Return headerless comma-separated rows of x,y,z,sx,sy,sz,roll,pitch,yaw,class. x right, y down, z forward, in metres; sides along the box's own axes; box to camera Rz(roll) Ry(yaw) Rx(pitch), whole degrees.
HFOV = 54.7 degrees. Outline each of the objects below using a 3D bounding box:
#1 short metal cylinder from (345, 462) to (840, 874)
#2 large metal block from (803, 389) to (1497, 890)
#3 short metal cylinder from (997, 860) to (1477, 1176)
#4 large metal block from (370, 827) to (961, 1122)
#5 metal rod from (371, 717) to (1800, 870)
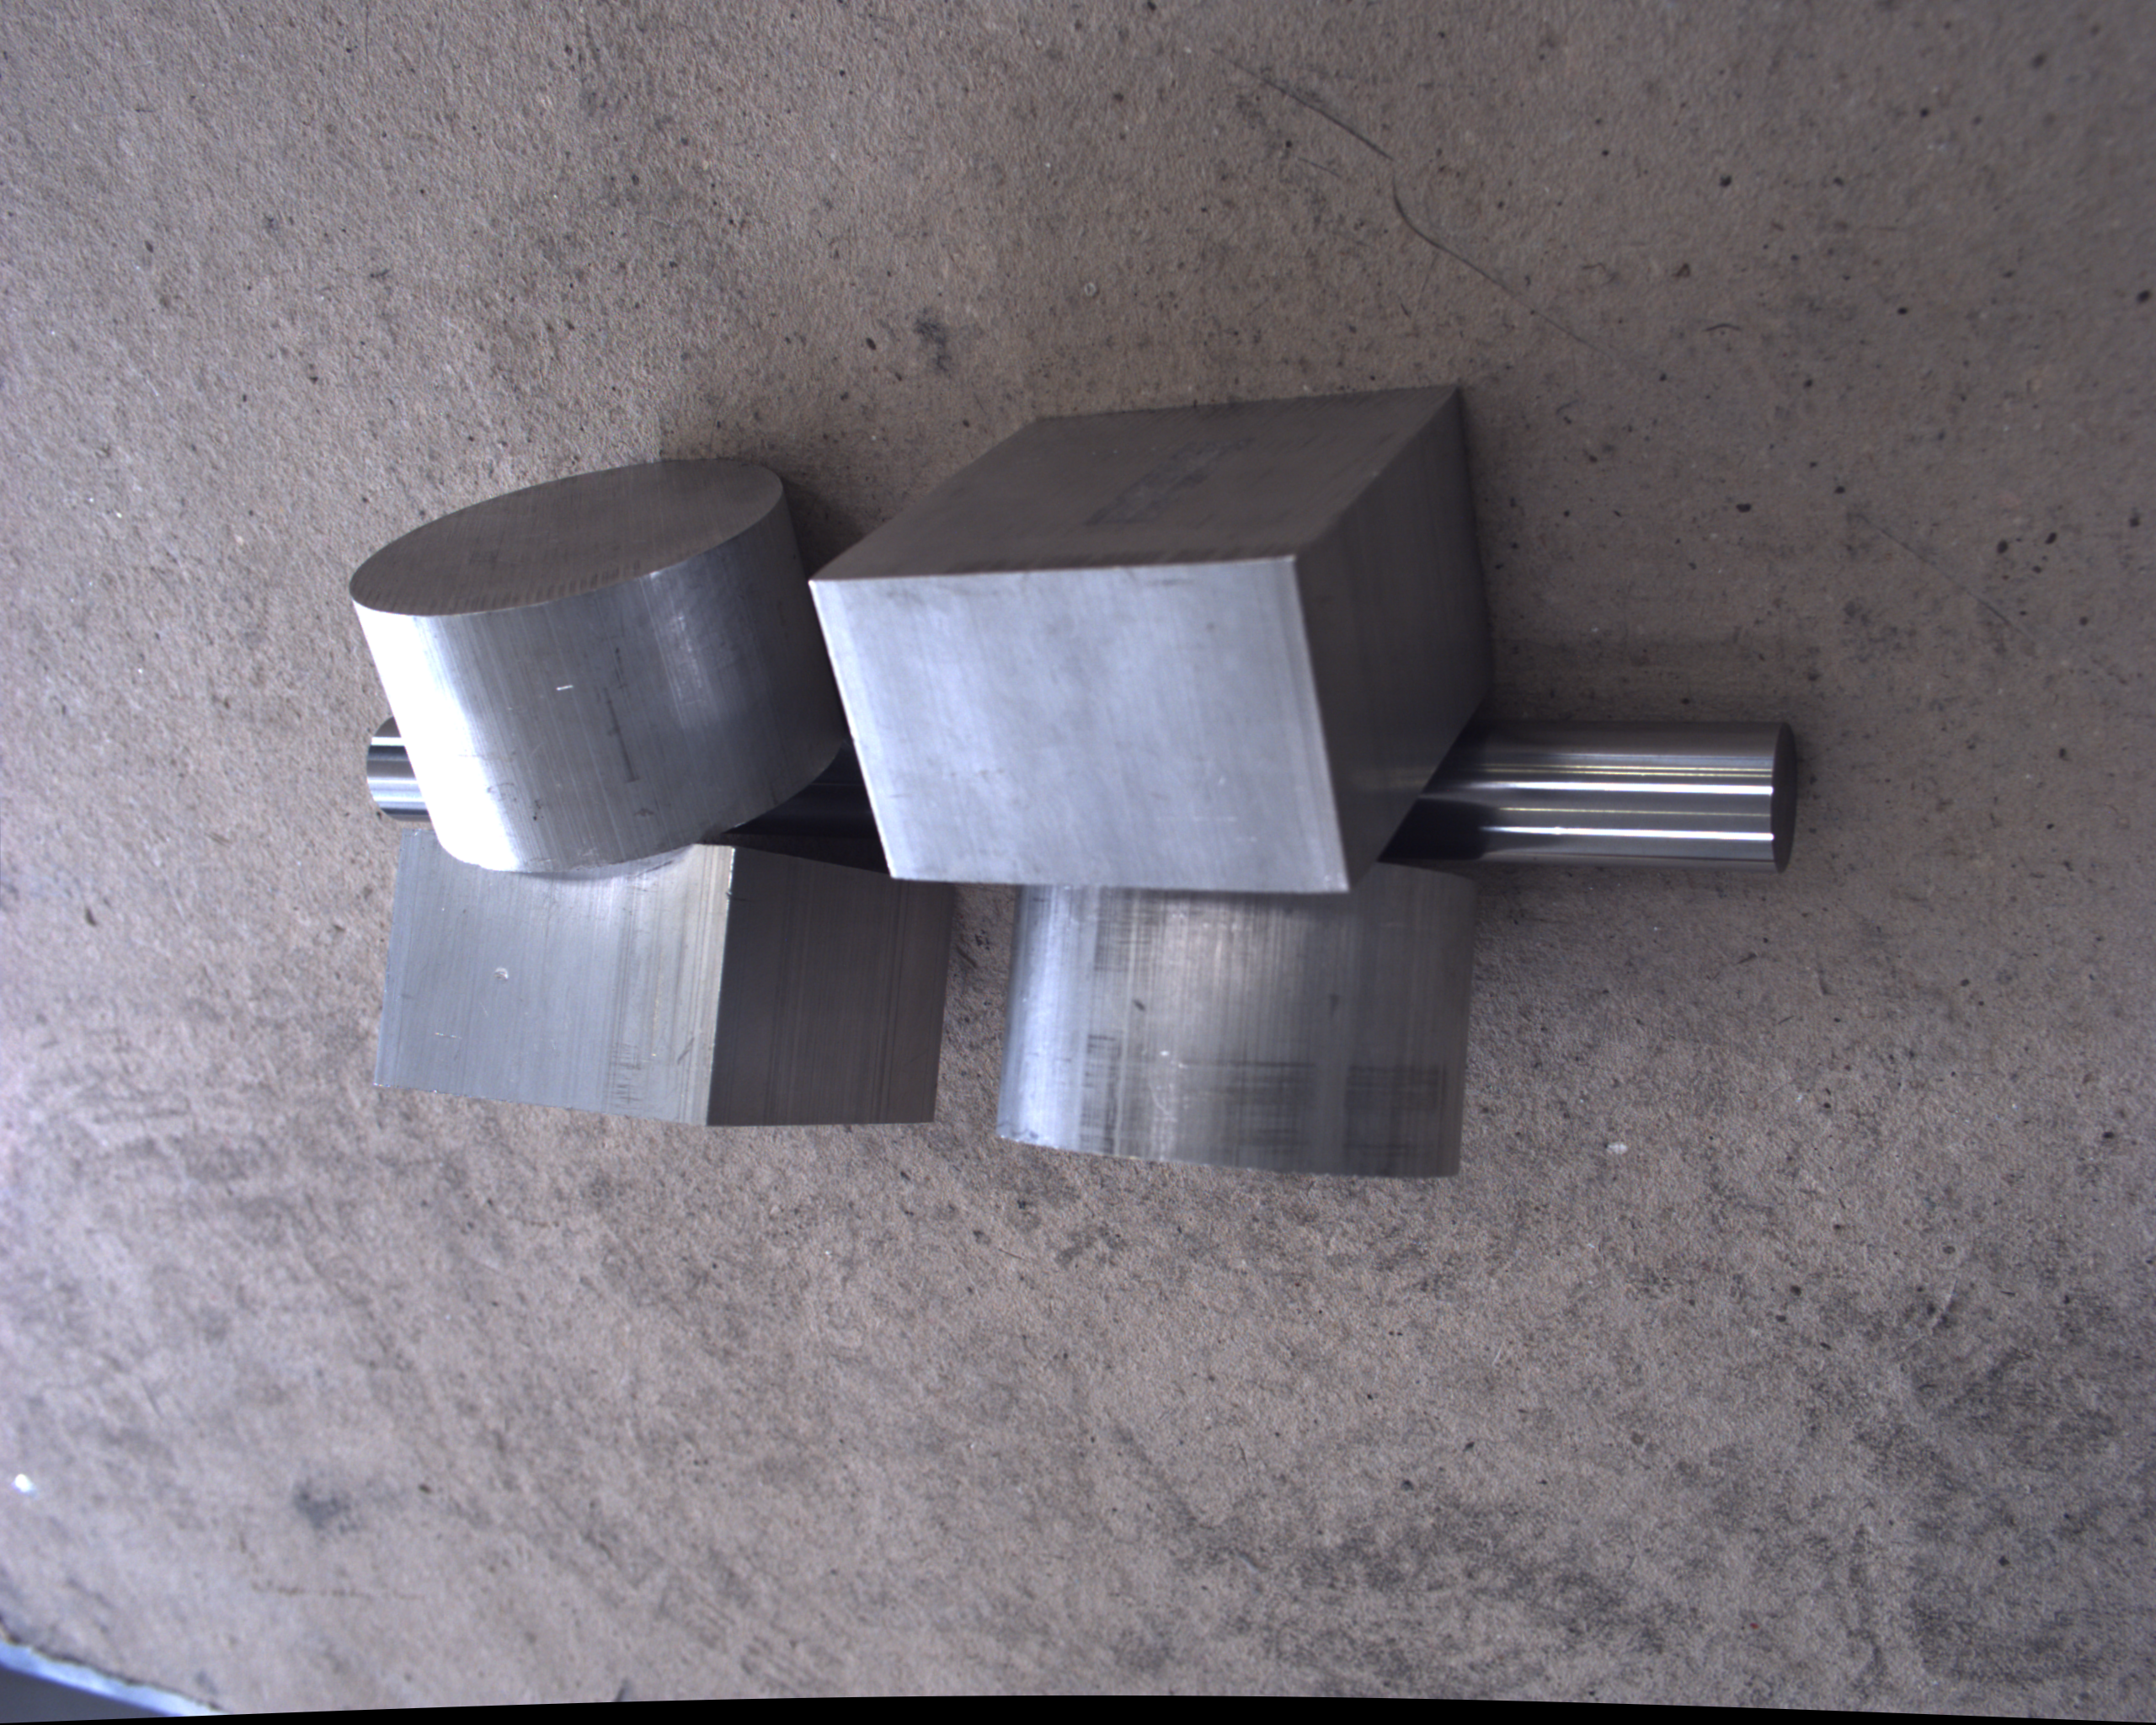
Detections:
-0.090,-0.039,0.396,0.080,0.080,0.050,4,120,26,short metal cylinder
0.016,-0.038,0.340,0.080,0.080,0.050,2,119,27,large metal block
0.028,0.026,0.366,0.080,0.080,0.050,2,85,27,short metal cylinder
-0.081,0.023,0.422,0.080,0.080,0.050,2,86,26,large metal block
-0.018,-0.017,0.409,0.300,0.025,0.025,2,120,27,metal rod
